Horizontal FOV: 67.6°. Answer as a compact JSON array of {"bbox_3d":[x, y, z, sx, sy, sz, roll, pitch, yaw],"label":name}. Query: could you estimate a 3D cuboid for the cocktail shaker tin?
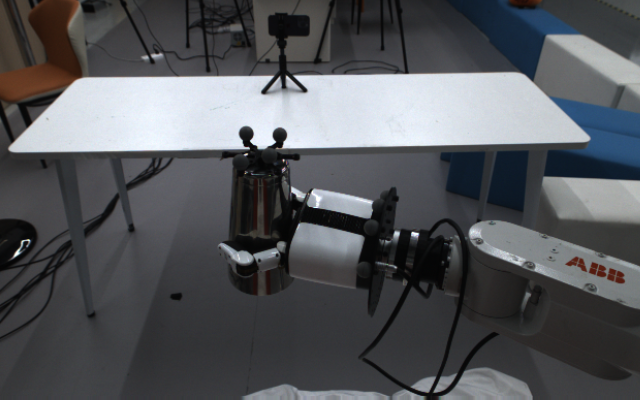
[{"bbox_3d":[-0.070,0.026,0.608,0.093,0.170,0.093,3,34,-2],"label":"cocktail shaker tin"}]
